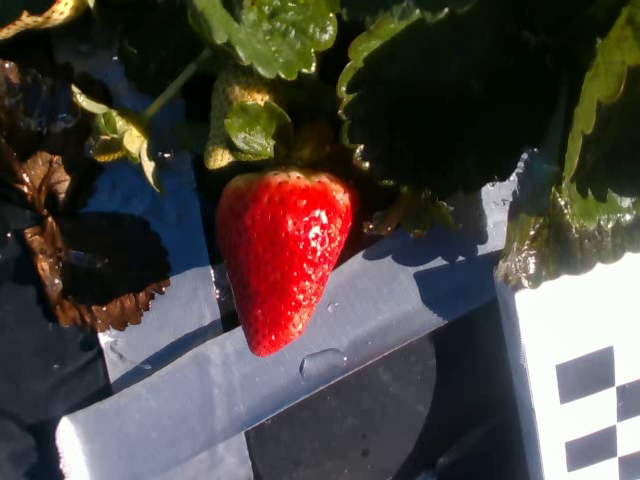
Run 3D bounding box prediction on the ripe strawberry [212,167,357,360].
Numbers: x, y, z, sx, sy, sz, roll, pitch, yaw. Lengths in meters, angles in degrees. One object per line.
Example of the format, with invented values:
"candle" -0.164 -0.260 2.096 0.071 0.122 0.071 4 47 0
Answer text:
"ripe strawberry" -0.010 0.011 0.216 0.061 0.065 0.057 7 -15 -18
